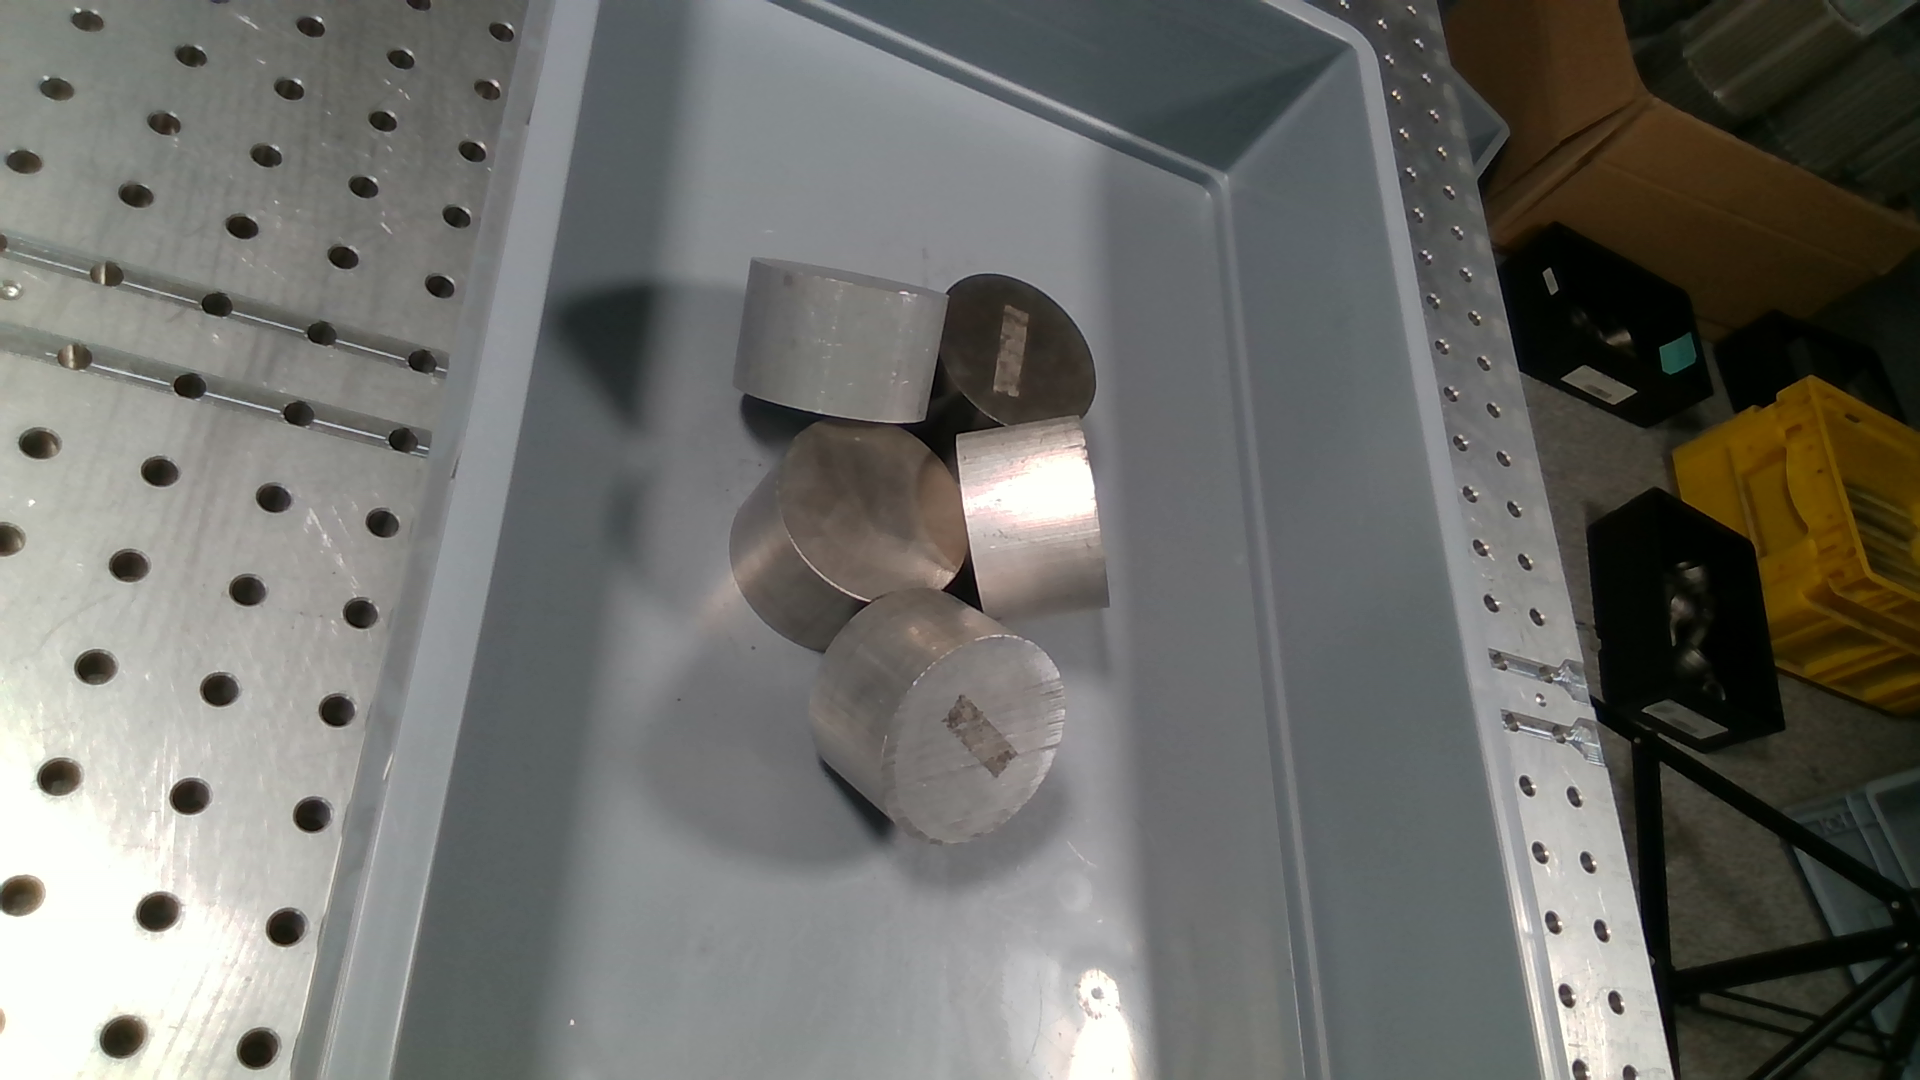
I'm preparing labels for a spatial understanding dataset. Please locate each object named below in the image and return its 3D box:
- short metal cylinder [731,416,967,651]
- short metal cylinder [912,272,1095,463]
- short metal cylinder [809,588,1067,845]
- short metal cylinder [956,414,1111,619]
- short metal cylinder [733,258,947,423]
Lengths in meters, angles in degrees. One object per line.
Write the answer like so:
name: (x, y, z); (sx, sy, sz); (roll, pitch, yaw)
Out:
short metal cylinder: (-0.044, -0.002, 0.542); (0.080, 0.050, 0.080); (14, 59, -25)
short metal cylinder: (0.013, -0.072, 0.614); (0.080, 0.050, 0.080); (14, 59, -25)
short metal cylinder: (-0.008, 0.063, 0.503); (0.080, 0.050, 0.080); (-14, 115, -32)
short metal cylinder: (0.030, -0.008, 0.562); (0.050, 0.080, 0.080); (-9, 66, 3)
short metal cylinder: (-0.048, -0.081, 0.555); (0.080, 0.080, 0.050); (3, 106, -30)
